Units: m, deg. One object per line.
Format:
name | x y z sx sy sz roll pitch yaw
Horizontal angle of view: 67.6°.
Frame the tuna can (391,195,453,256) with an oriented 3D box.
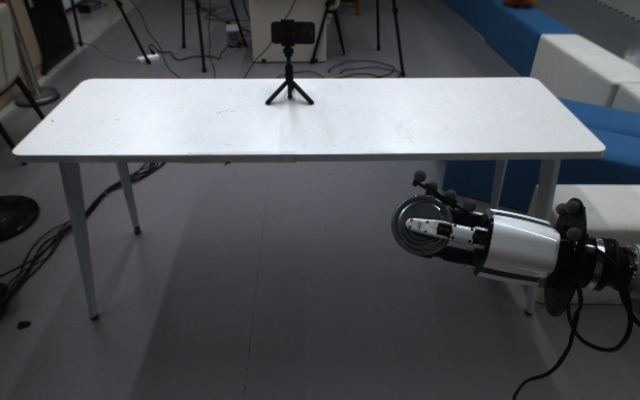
tuna can | 0.146 0.034 0.683 0.085 0.085 0.034 12 -4 15
